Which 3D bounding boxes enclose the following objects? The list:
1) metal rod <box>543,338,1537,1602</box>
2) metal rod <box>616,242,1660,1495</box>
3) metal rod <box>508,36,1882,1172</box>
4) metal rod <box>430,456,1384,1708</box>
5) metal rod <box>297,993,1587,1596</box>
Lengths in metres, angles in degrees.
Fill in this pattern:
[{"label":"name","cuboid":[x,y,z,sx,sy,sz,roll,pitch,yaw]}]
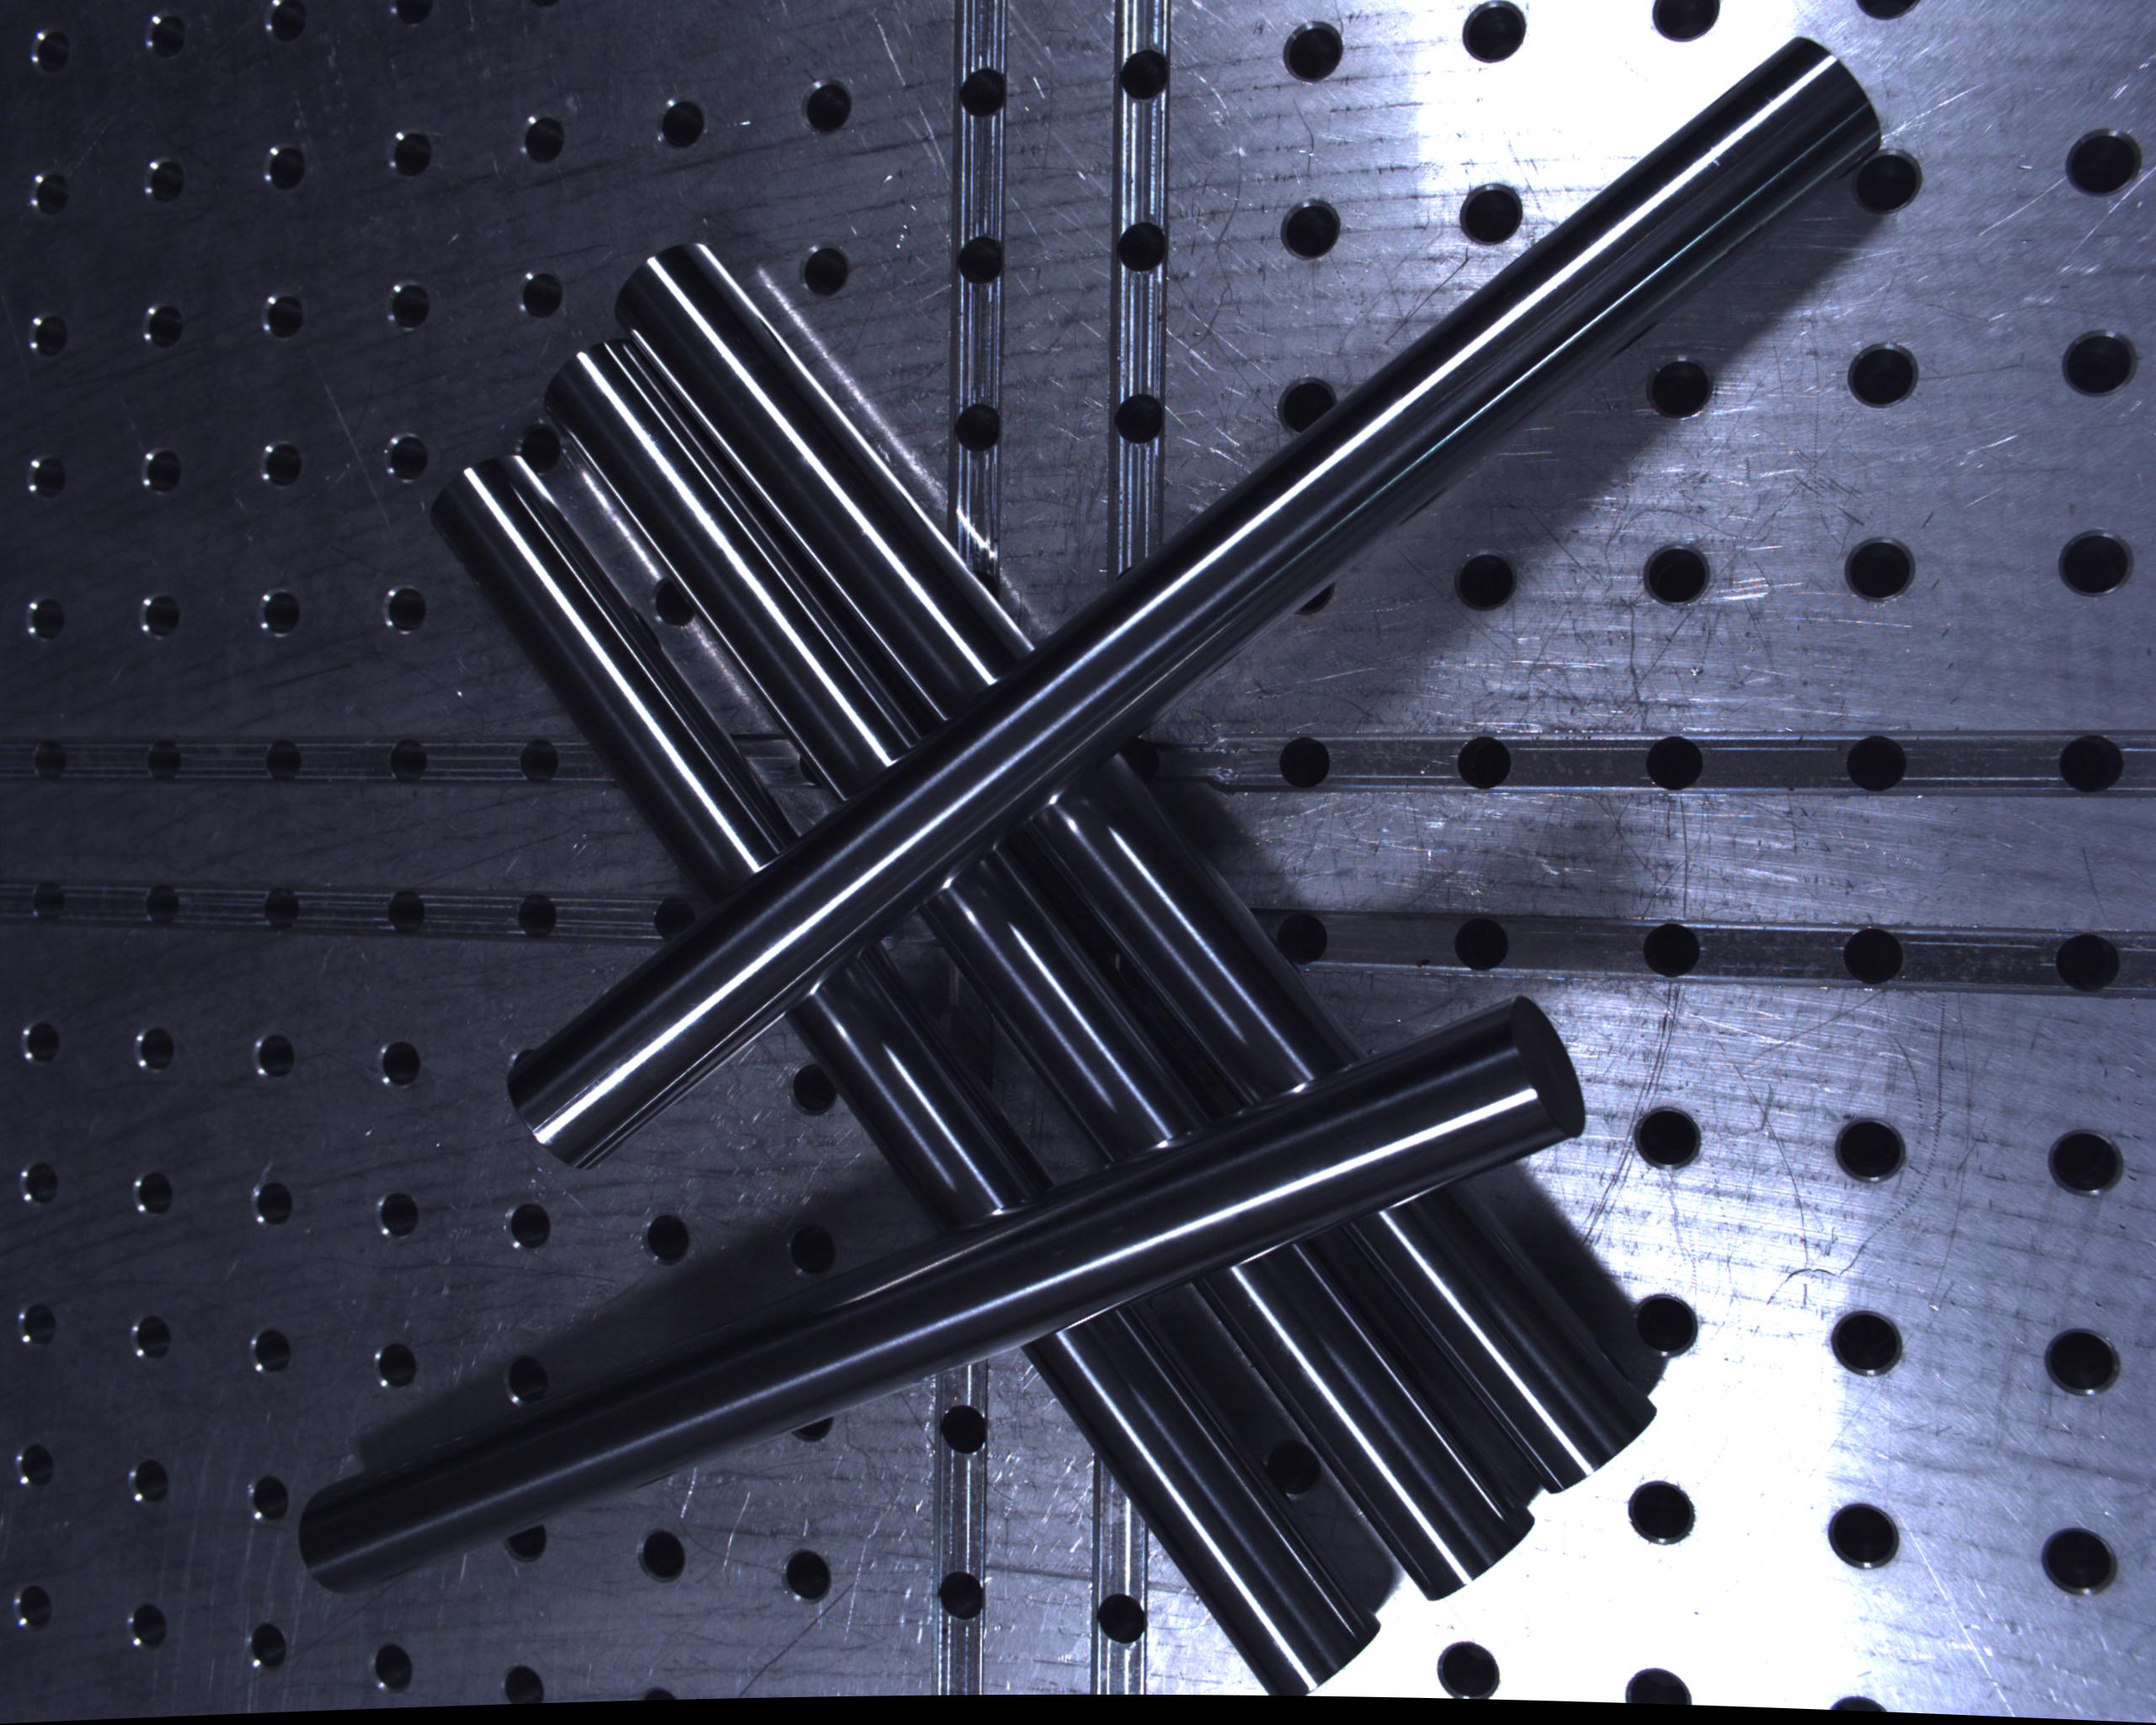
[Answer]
[{"label":"metal rod","cuboid":[-0.014,0.013,0.417,0.025,0.025,0.299,-41,78,15]},{"label":"metal rod","cuboid":[0.004,-0.007,0.410,0.025,0.025,0.300,-42,77,15]},{"label":"metal rod","cuboid":[0.016,-0.042,0.385,0.300,0.025,0.025,-38,78,7]},{"label":"metal rod","cuboid":[-0.041,0.036,0.426,0.025,0.025,0.299,-41,78,15]},{"label":"metal rod","cuboid":[-0.044,0.093,0.405,0.300,0.025,0.025,-26,82,26]}]
